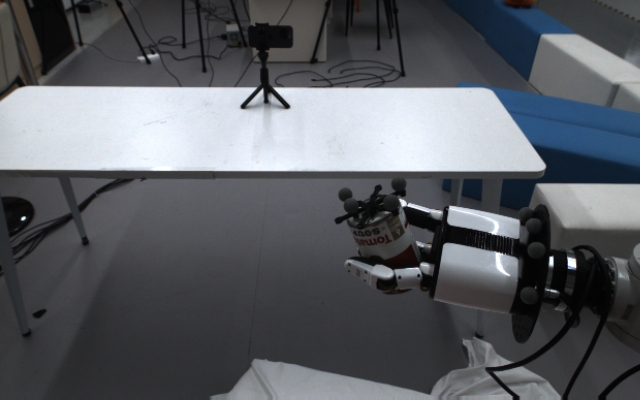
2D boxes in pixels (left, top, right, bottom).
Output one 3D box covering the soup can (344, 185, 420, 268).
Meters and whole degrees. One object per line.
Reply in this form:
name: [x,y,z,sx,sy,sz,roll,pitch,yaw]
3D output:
soup can: [0.083,0.052,0.580,0.067,0.101,0.067,-22,24,10]
